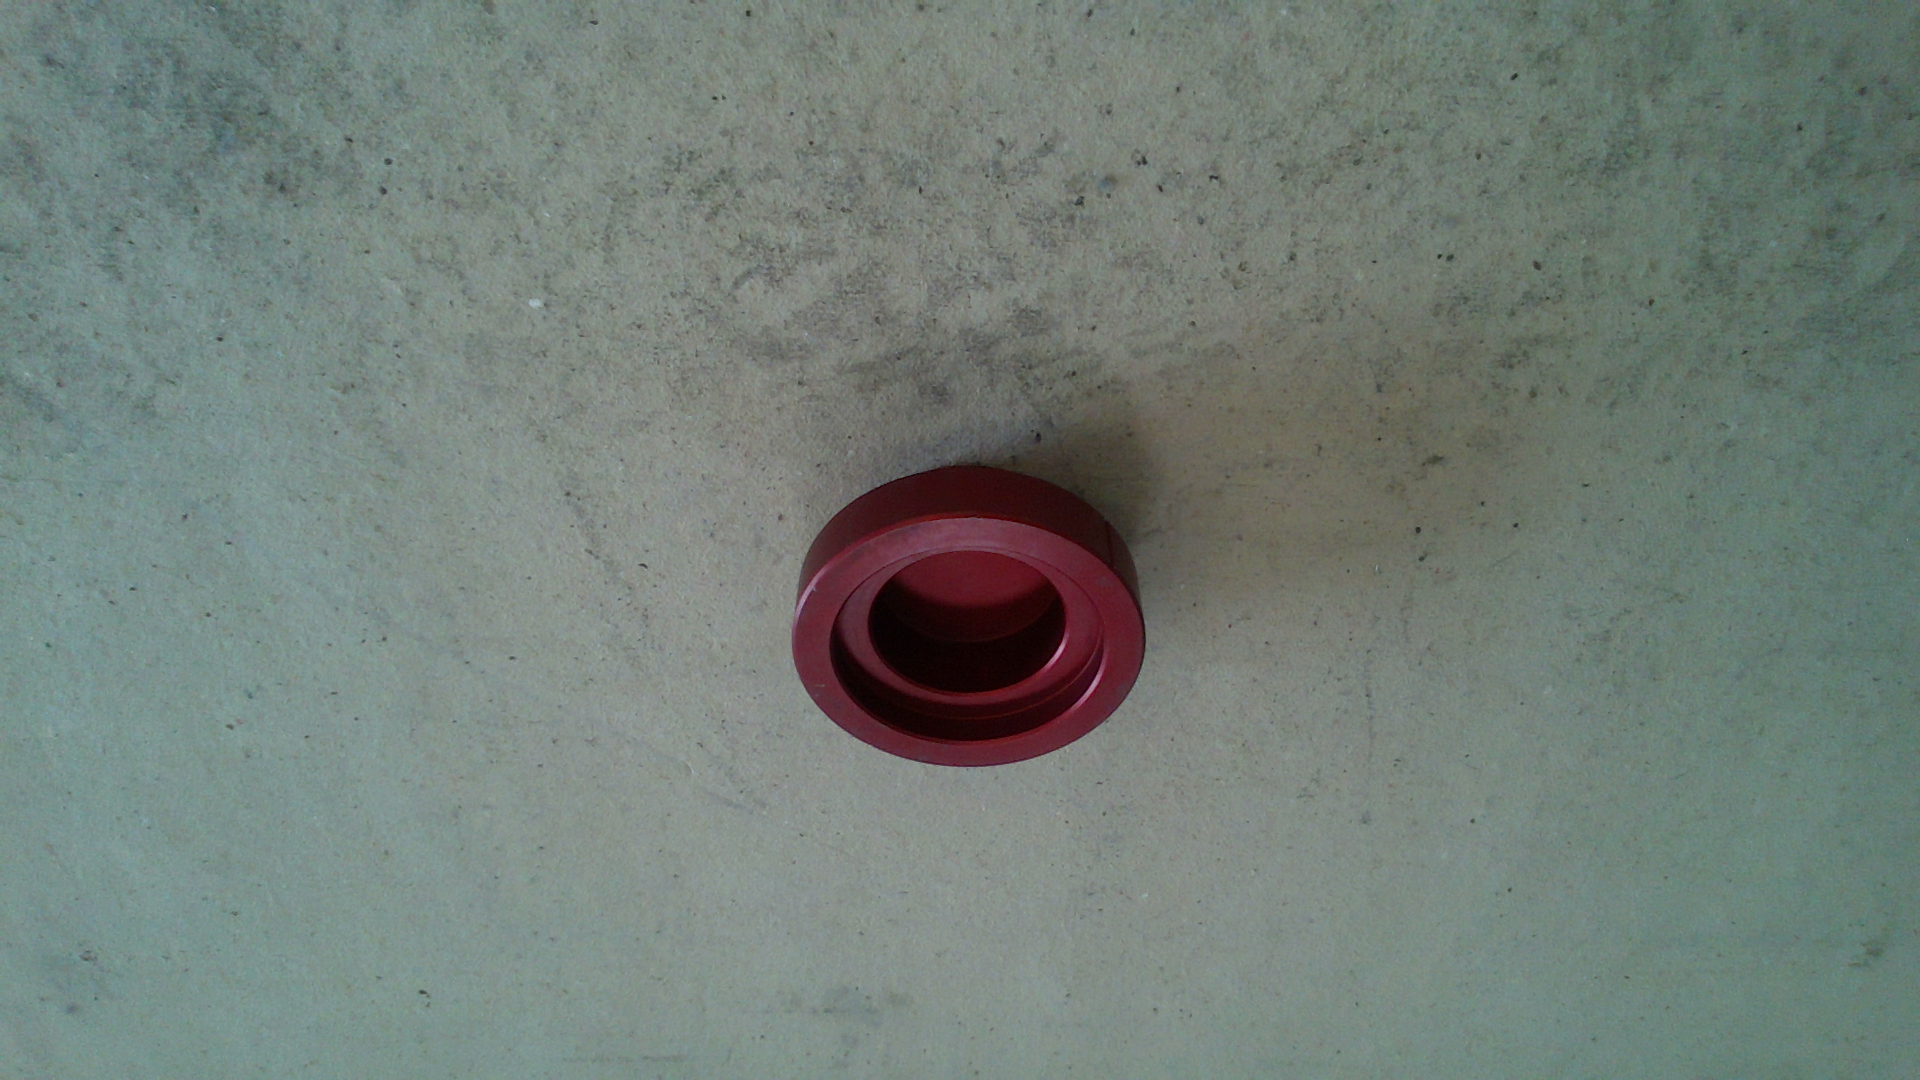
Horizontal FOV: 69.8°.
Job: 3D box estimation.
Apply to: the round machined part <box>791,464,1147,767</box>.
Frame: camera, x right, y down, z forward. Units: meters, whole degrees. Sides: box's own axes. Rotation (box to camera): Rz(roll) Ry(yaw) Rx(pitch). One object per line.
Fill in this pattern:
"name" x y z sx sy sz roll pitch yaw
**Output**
"round machined part" 0.003 0.017 0.394 0.098 0.042 0.098 0 130 0
